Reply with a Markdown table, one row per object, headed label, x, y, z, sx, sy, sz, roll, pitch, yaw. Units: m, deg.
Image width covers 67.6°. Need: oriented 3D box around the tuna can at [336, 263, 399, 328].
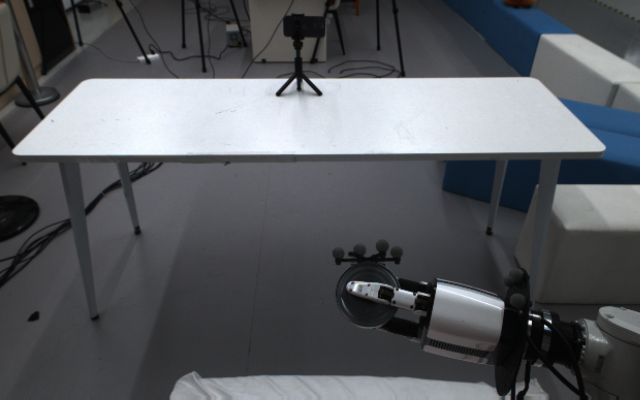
| label | x | y | z | sx | sy | sz | roll | pitch | yaw |
| --- | --- | --- | --- | --- | --- | --- | --- | --- | --- |
| tuna can | 0.066 | 0.125 | 0.642 | 0.085 | 0.034 | 0.085 | -3 | 66 | 7 |
